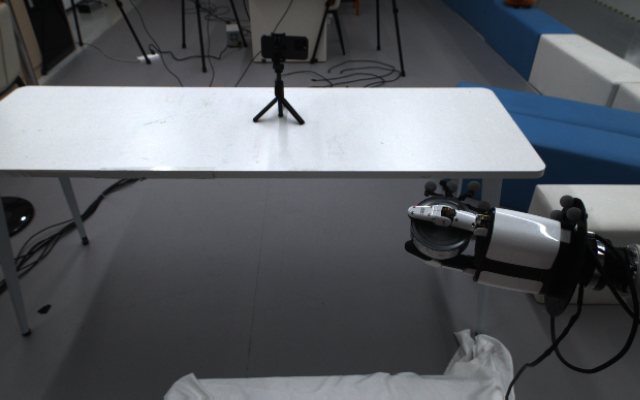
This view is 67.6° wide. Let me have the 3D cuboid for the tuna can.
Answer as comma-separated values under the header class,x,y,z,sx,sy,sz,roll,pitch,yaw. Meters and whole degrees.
class,x,y,z,sx,sy,sz,roll,pitch,yaw
tuna can,0.170,0.034,0.675,0.085,0.034,0.085,-4,55,6
